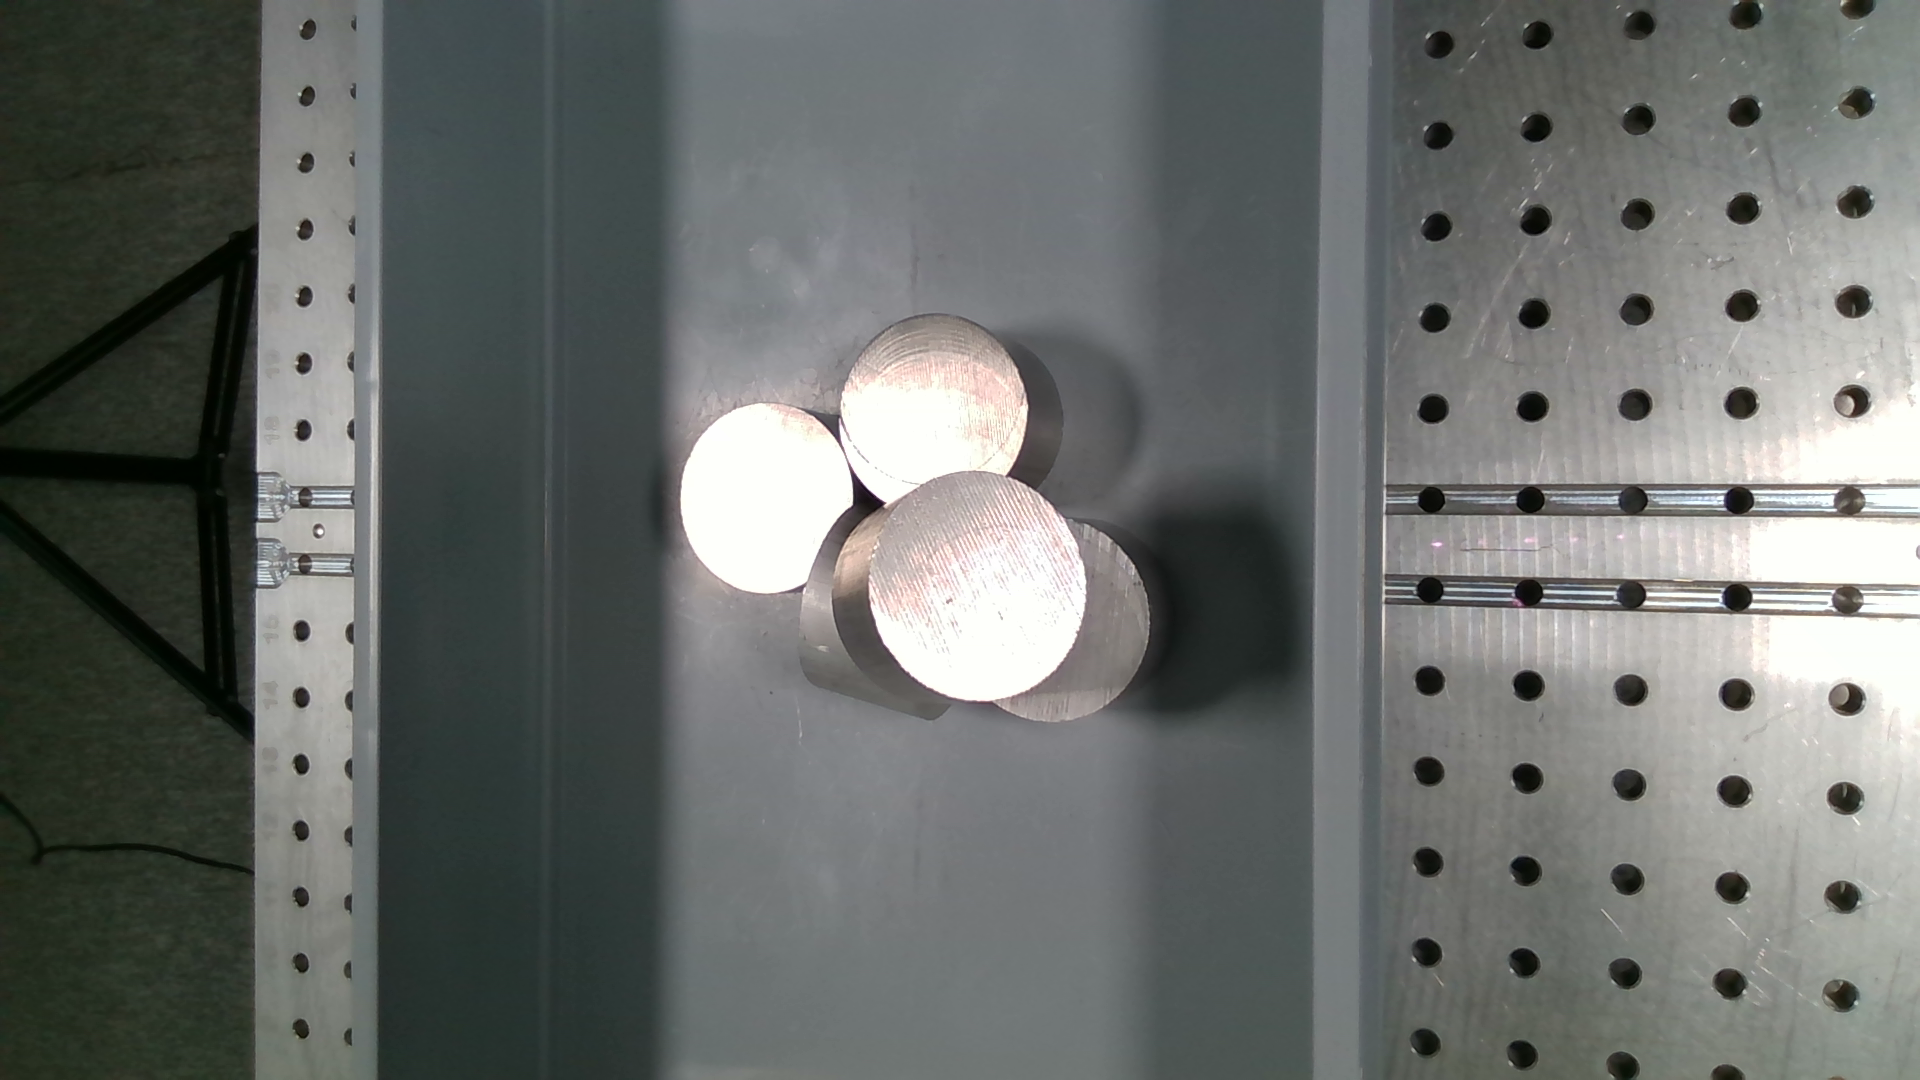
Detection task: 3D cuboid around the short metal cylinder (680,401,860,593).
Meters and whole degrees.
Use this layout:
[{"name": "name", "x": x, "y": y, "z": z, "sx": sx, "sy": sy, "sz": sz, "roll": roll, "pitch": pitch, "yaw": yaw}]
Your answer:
[{"name": "short metal cylinder", "x": -0.073, "y": -0.018, "z": 0.597, "sx": 0.080, "sy": 0.050, "sz": 0.080, "roll": 0, "pitch": 90, "yaw": 20}]

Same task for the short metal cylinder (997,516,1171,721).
[{"name": "short metal cylinder", "x": 0.042, "y": 0.030, "z": 0.556, "sx": 0.080, "sy": 0.050, "sz": 0.080, "roll": 0, "pitch": 90, "yaw": 20}]

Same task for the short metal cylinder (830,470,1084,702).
[{"name": "short metal cylinder", "x": -0.002, "y": 0.019, "z": 0.497, "sx": 0.080, "sy": 0.050, "sz": 0.080, "roll": 3, "pitch": 82, "yaw": -19}]

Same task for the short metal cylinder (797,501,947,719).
[{"name": "short metal cylinder", "x": -0.025, "y": 0.028, "z": 0.565, "sx": 0.050, "sy": 0.080, "sz": 0.080, "roll": 14, "pitch": 95, "yaw": 20}]

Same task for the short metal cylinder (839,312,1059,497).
[{"name": "short metal cylinder", "x": -0.003, "y": -0.051, "z": 0.571, "sx": 0.080, "sy": 0.050, "sz": 0.080, "roll": 0, "pitch": 90, "yaw": 20}]
